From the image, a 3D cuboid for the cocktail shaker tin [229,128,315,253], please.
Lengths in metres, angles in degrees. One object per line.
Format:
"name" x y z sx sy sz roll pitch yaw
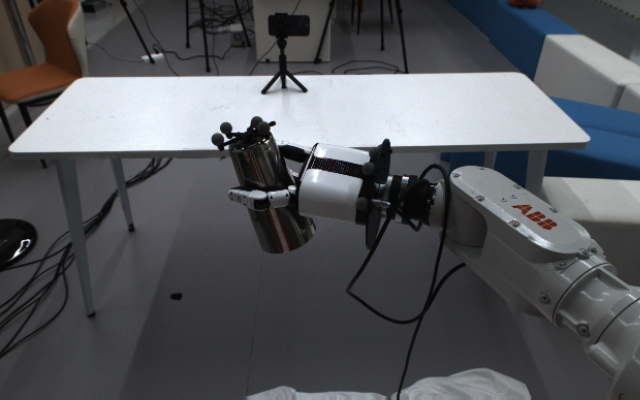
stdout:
"cocktail shaker tin" -0.075 -0.014 0.722 0.093 0.170 0.093 -15 29 8
